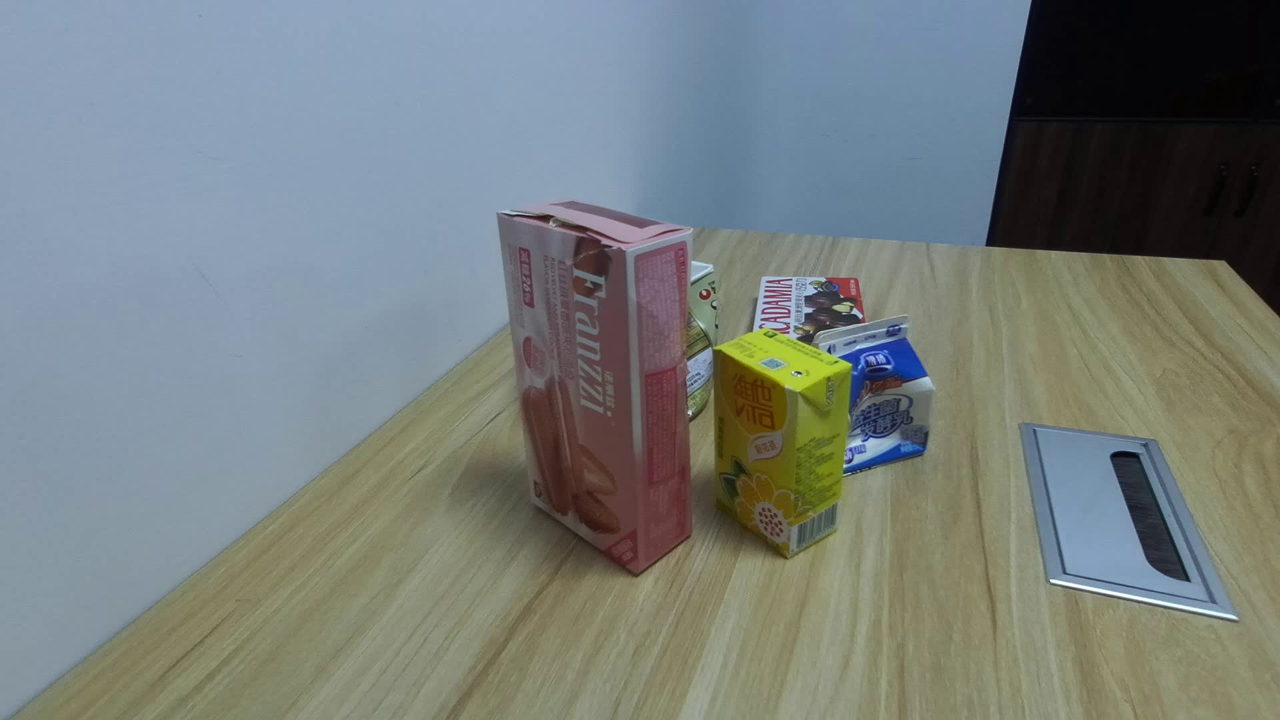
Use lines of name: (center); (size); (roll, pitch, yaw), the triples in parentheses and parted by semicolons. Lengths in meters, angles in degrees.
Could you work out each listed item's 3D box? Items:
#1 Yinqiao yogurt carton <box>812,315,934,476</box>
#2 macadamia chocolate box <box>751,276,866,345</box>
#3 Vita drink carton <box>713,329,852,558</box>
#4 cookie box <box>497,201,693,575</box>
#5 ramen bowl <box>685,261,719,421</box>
Yinqiao yogurt carton: (0.141, 0.016, 0.463); (0.077, 0.094, 0.071); (-12, 34, -15)
macadamia chocolate box: (0.149, -0.030, 0.627); (0.095, 0.027, 0.178); (4, 28, 12)
Vita drink carton: (0.076, 0.045, 0.395); (0.044, 0.109, 0.066); (-21, 33, -30)
cookie box: (-0.018, 0.014, 0.381); (0.049, 0.188, 0.104); (-25, 33, -38)
ramen bowl: (-0.003, -0.020, 0.535); (0.137, 0.098, 0.137); (4, 23, -1)
